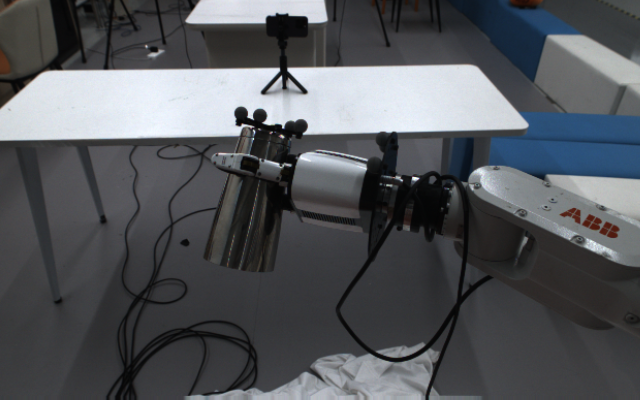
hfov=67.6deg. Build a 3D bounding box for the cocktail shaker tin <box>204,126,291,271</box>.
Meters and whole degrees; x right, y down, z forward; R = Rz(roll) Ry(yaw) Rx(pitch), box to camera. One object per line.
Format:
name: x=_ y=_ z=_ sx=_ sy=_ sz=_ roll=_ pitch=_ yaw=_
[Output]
cocktail shaker tin: x=-0.083 y=-0.004 z=0.621 sx=0.093 sy=0.170 sz=0.093 roll=13 pitch=1 yaw=0
